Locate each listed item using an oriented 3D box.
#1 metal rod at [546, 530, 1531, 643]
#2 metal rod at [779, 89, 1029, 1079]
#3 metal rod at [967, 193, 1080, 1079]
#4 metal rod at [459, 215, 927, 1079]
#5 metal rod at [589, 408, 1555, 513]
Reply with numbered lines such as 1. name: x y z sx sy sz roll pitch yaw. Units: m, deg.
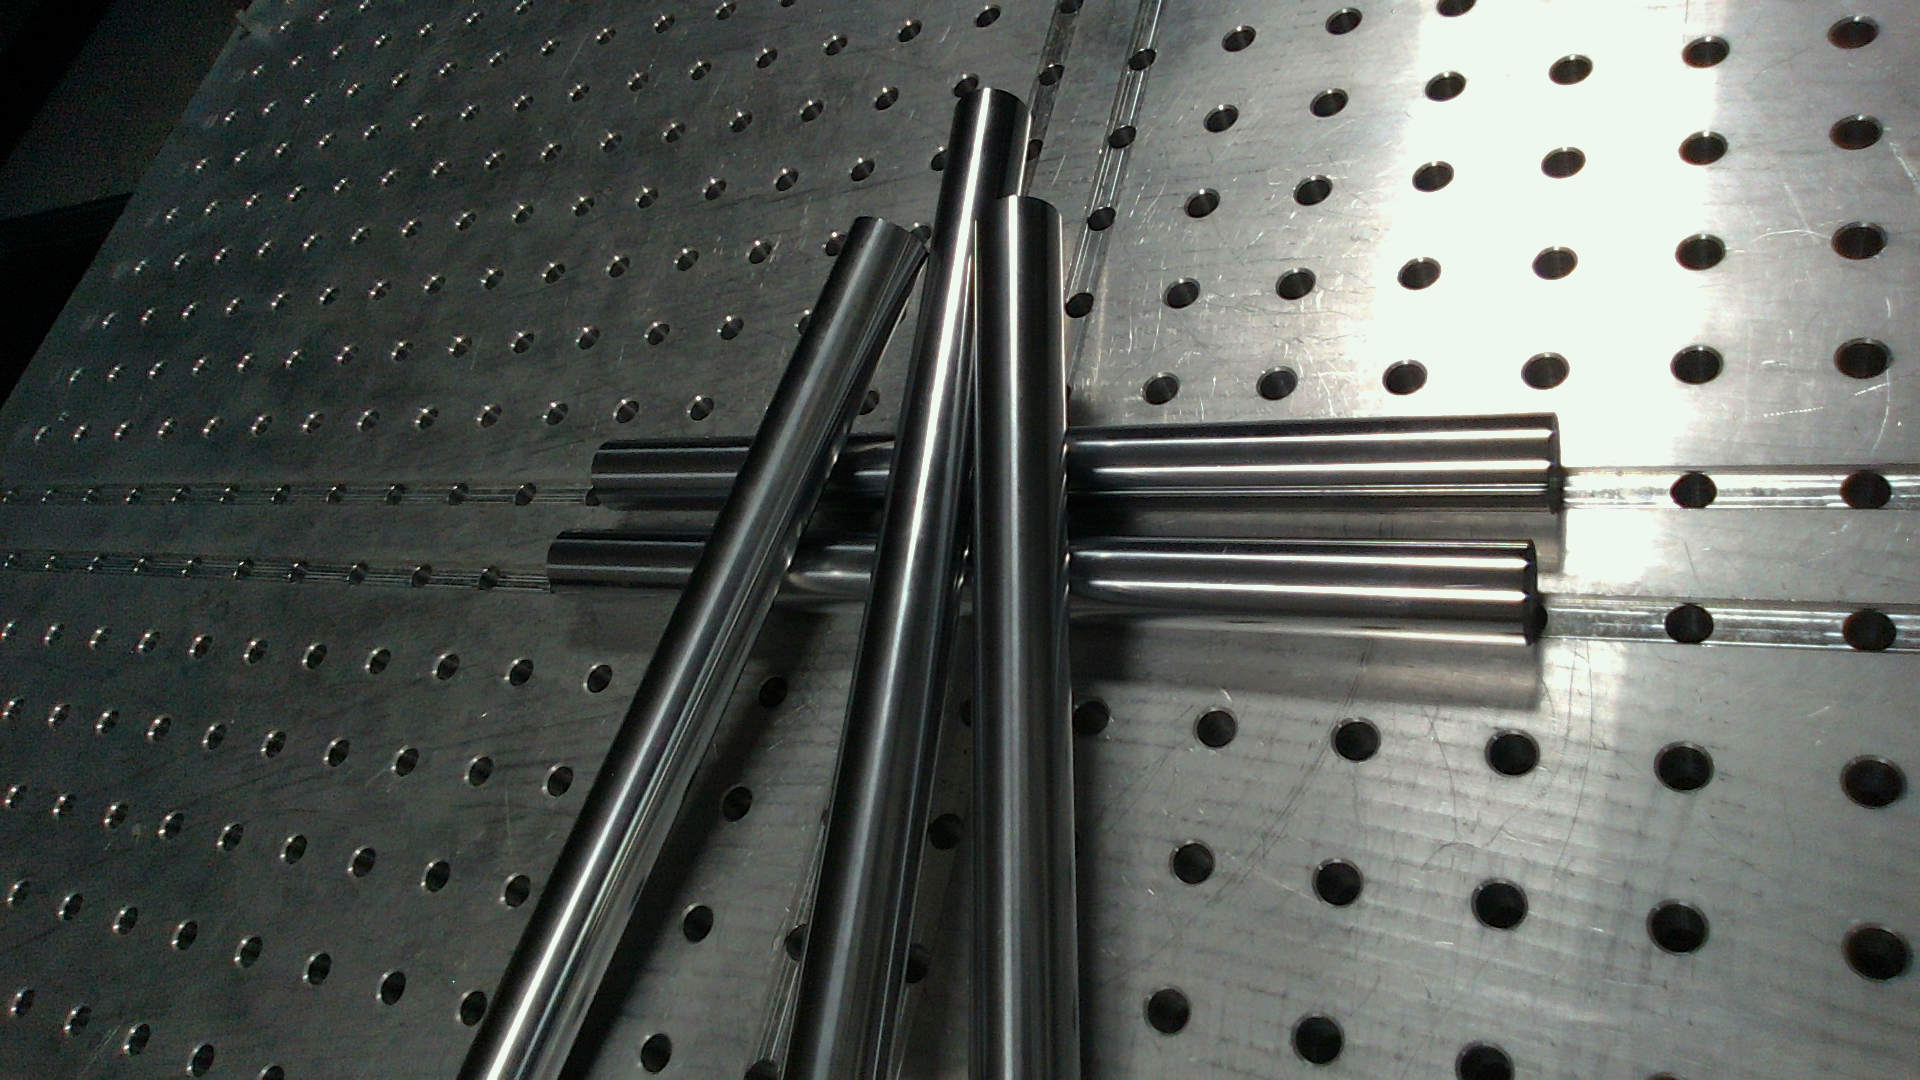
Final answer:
1. metal rod: 0.001 0.010 0.391 0.299 0.025 0.025 1 62 29
2. metal rod: -0.009 -0.004 0.373 0.025 0.025 0.300 -6 59 25
3. metal rod: 0.015 0.045 0.336 0.025 0.025 0.300 -10 64 23
4. metal rod: -0.078 0.044 0.388 0.025 0.025 0.300 15 76 34
5. metal rod: 0.012 -0.021 0.404 0.299 0.025 0.025 1 62 29
